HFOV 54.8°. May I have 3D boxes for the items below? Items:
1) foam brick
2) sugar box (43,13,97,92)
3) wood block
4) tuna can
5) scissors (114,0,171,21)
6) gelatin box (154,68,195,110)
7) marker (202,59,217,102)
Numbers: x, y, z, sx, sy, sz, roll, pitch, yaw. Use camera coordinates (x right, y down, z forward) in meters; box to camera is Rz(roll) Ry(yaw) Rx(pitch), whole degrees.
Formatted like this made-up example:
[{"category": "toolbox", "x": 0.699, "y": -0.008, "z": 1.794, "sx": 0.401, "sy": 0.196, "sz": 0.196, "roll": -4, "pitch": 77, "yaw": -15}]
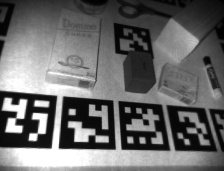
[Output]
[{"category": "foam brick", "x": 0.053, "y": -0.019, "z": 0.482, "sx": 0.053, "sy": 0.051, "sz": 0.078, "roll": 8, "pitch": 63, "yaw": -13}, {"category": "sugar box", "x": -0.087, "y": -0.075, "z": 0.476, "sx": 0.093, "sy": 0.045, "sz": 0.176, "roll": 11, "pitch": 61, "yaw": -13}, {"category": "wood block", "x": 0.223, "y": -0.154, "z": 0.591, "sx": 0.089, "sy": 0.091, "sz": 0.207, "roll": 44, "pitch": 59, "yaw": 9}, {"category": "tuna can", "x": -0.064, "y": -0.222, "z": 0.560, "sx": 0.086, "sy": 0.033, "sz": 0.085, "roll": 8, "pitch": 63, "yaw": -14}, {"category": "scissors", "x": 0.101, "y": -0.207, "z": 0.619, "sx": 0.204, "sy": 0.016, "sz": 0.087, "roll": 12, "pitch": 61, "yaw": -9}, {"category": "gelatin box", "x": 0.149, "y": 0.007, "z": 0.517, "sx": 0.089, "sy": 0.030, "sz": 0.073, "roll": 23, "pitch": 60, "yaw": -5}, {"category": "marker", "x": 0.254, "y": -0.016, "z": 0.567, "sx": 0.020, "sy": 0.019, "sz": 0.120, "roll": 8, "pitch": 64, "yaw": -13}]
